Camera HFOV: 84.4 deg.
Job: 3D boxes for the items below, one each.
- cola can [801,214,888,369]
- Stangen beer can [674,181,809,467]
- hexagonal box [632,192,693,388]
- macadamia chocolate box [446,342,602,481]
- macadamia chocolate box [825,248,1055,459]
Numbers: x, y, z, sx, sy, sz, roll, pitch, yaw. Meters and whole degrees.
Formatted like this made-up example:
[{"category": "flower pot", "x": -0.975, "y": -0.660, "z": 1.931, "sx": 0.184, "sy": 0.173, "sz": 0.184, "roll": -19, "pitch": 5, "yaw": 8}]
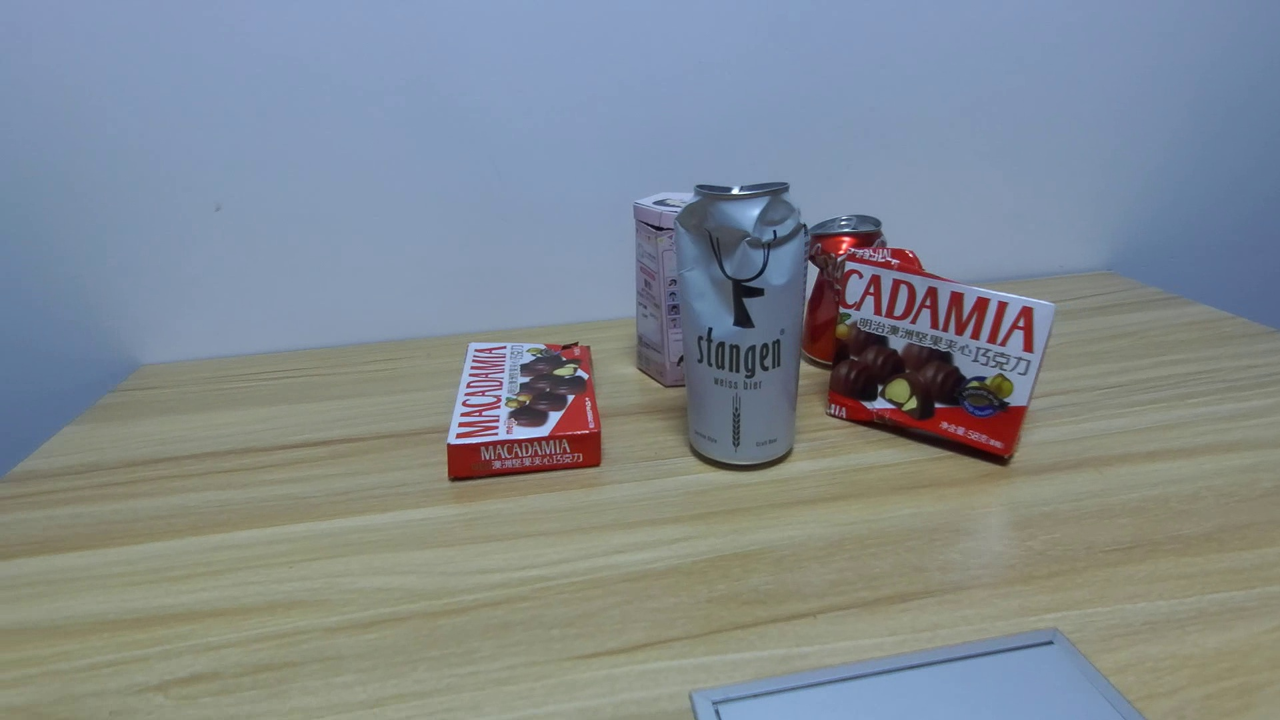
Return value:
[{"category": "cola can", "x": 0.167, "y": -0.058, "z": 0.572, "sx": 0.069, "sy": 0.112, "sz": 0.065, "roll": -20, "pitch": 30, "yaw": -28}, {"category": "Stangen beer can", "x": 0.061, "y": -0.019, "z": 0.422, "sx": 0.066, "sy": 0.166, "sz": 0.065, "roll": -20, "pitch": 27, "yaw": -37}, {"category": "hexagonal box", "x": 0.039, "y": -0.058, "z": 0.574, "sx": 0.085, "sy": 0.135, "sz": 0.091, "roll": -14, "pitch": 25, "yaw": -27}, {"category": "macadamia chocolate box", "x": -0.081, "y": 0.024, "z": 0.517, "sx": 0.103, "sy": 0.027, "sz": 0.186, "roll": -4, "pitch": 23, "yaw": -8}, {"category": "macadamia chocolate box", "x": 0.187, "y": -0.008, "z": 0.449, "sx": 0.126, "sy": 0.112, "sz": 0.056, "roll": 17, "pitch": 29, "yaw": 39}]
